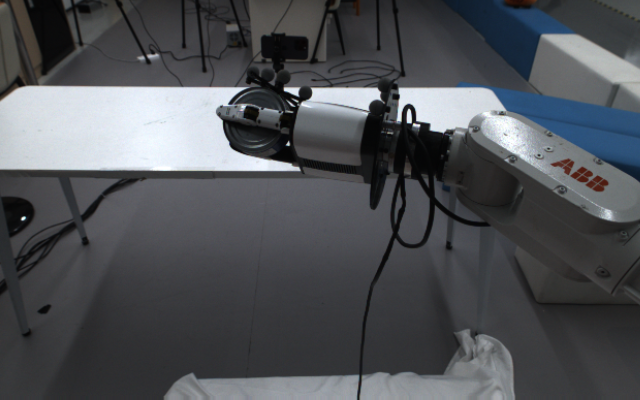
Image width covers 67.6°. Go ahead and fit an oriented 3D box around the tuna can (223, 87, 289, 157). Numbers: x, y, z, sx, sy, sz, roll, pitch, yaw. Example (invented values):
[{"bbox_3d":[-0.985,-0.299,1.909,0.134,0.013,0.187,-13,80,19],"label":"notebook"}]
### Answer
[{"bbox_3d":[-0.078,-0.101,0.621,0.085,0.085,0.034,13,-6,16],"label":"tuna can"}]
